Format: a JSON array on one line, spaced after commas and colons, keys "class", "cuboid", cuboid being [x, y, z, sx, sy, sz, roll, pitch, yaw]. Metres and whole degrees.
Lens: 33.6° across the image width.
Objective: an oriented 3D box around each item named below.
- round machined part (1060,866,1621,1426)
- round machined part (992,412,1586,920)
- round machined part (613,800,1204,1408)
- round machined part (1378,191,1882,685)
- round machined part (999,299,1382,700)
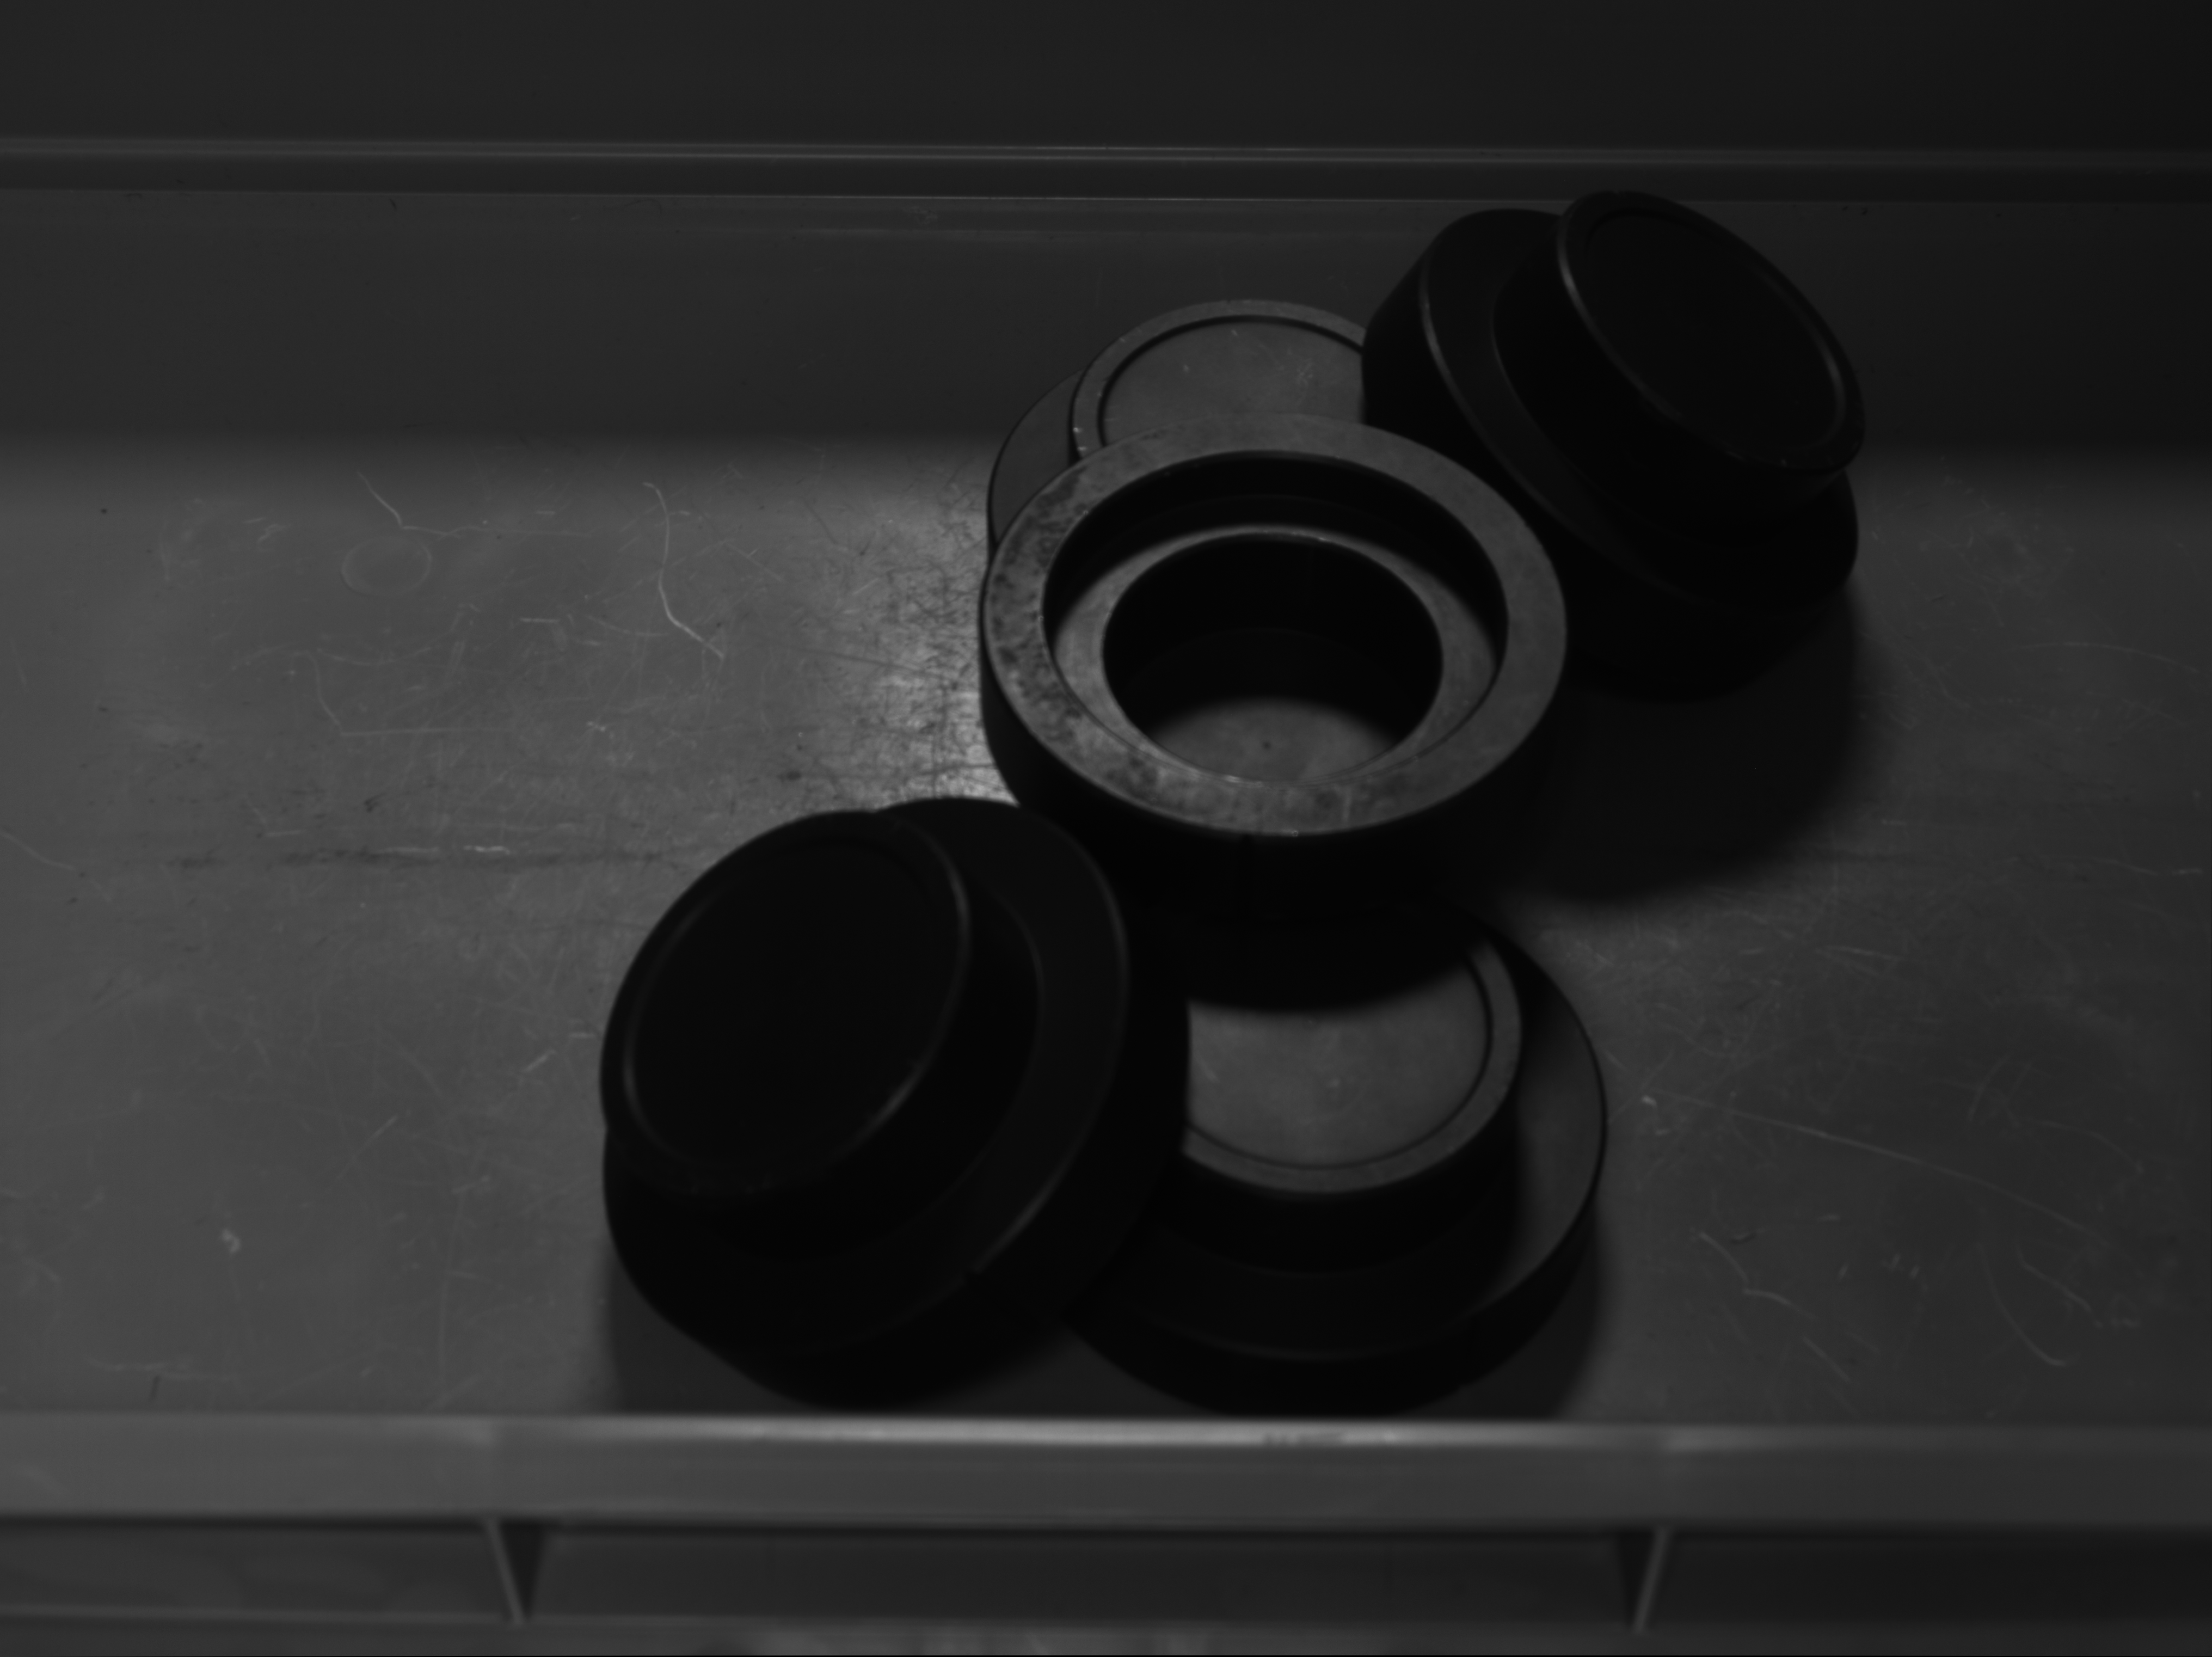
[{"class": "round machined part", "cuboid": [0.034, 0.044, 0.592, 0.098, 0.042, 0.098, 0, 50, 0]}, {"class": "round machined part", "cuboid": [0.030, -0.022, 0.619, 0.098, 0.042, 0.098, 0, 50, 0]}, {"class": "round machined part", "cuboid": [-0.037, 0.037, 0.571, 0.098, 0.042, 0.098, -19, 50, 24]}, {"class": "round machined part", "cuboid": [0.101, -0.077, 0.667, 0.098, 0.042, 0.098, 22, 43, -22]}, {"class": "round machined part", "cuboid": [0.029, -0.060, 0.680, 0.098, 0.042, 0.098, 0, 50, 0]}]
